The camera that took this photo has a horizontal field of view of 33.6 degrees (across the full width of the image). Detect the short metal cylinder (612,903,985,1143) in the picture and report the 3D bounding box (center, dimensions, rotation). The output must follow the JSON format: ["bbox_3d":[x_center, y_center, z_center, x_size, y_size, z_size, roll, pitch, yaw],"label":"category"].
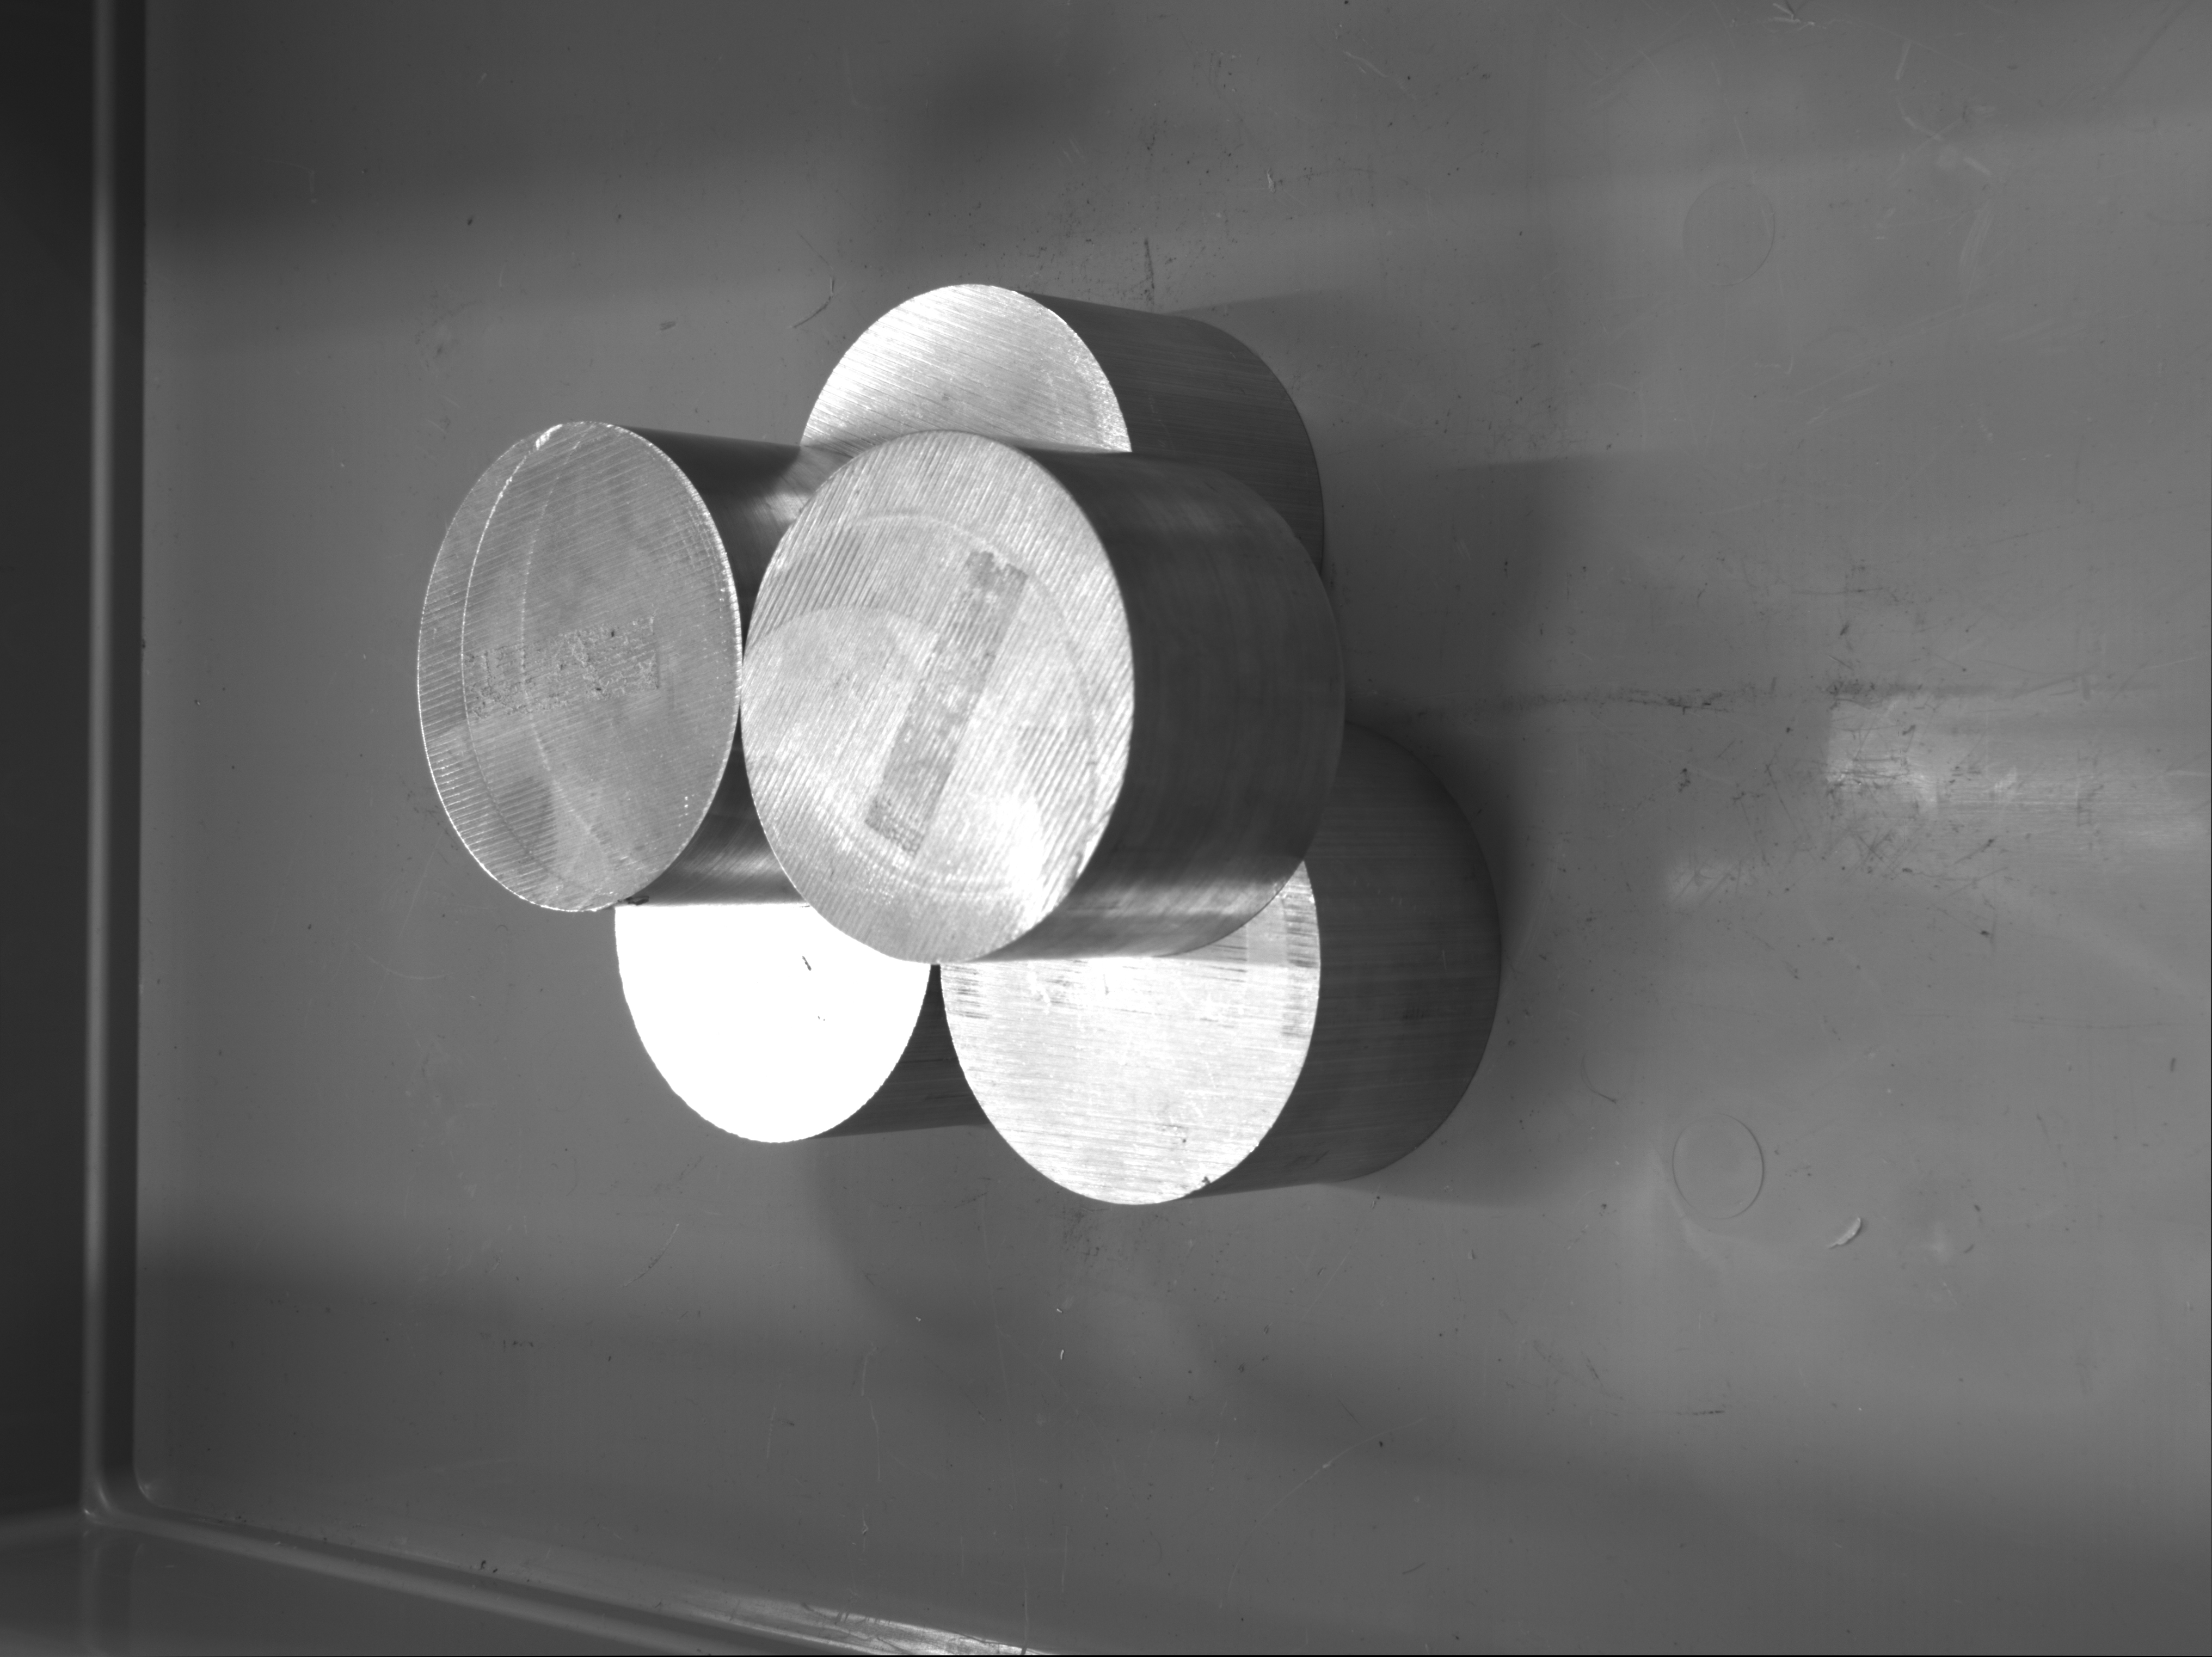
[{"bbox_3d":[-0.044,0.015,0.664,0.080,0.050,0.080,0,90,40],"label":"short metal cylinder"}]

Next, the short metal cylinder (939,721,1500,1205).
[{"bbox_3d":[0.018,0.021,0.611,0.080,0.050,0.080,0,90,40],"label":"short metal cylinder"}]

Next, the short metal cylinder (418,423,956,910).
[{"bbox_3d":[-0.071,-0.027,0.622,0.080,0.050,0.080,0,90,40],"label":"short metal cylinder"}]

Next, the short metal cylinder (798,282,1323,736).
[{"bbox_3d":[-0.009,-0.052,0.635,0.080,0.050,0.080,0,90,40],"label":"short metal cylinder"}]

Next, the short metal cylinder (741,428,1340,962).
[{"bbox_3d":[-0.011,-0.020,0.569,0.080,0.050,0.080,0,90,40],"label":"short metal cylinder"}]
